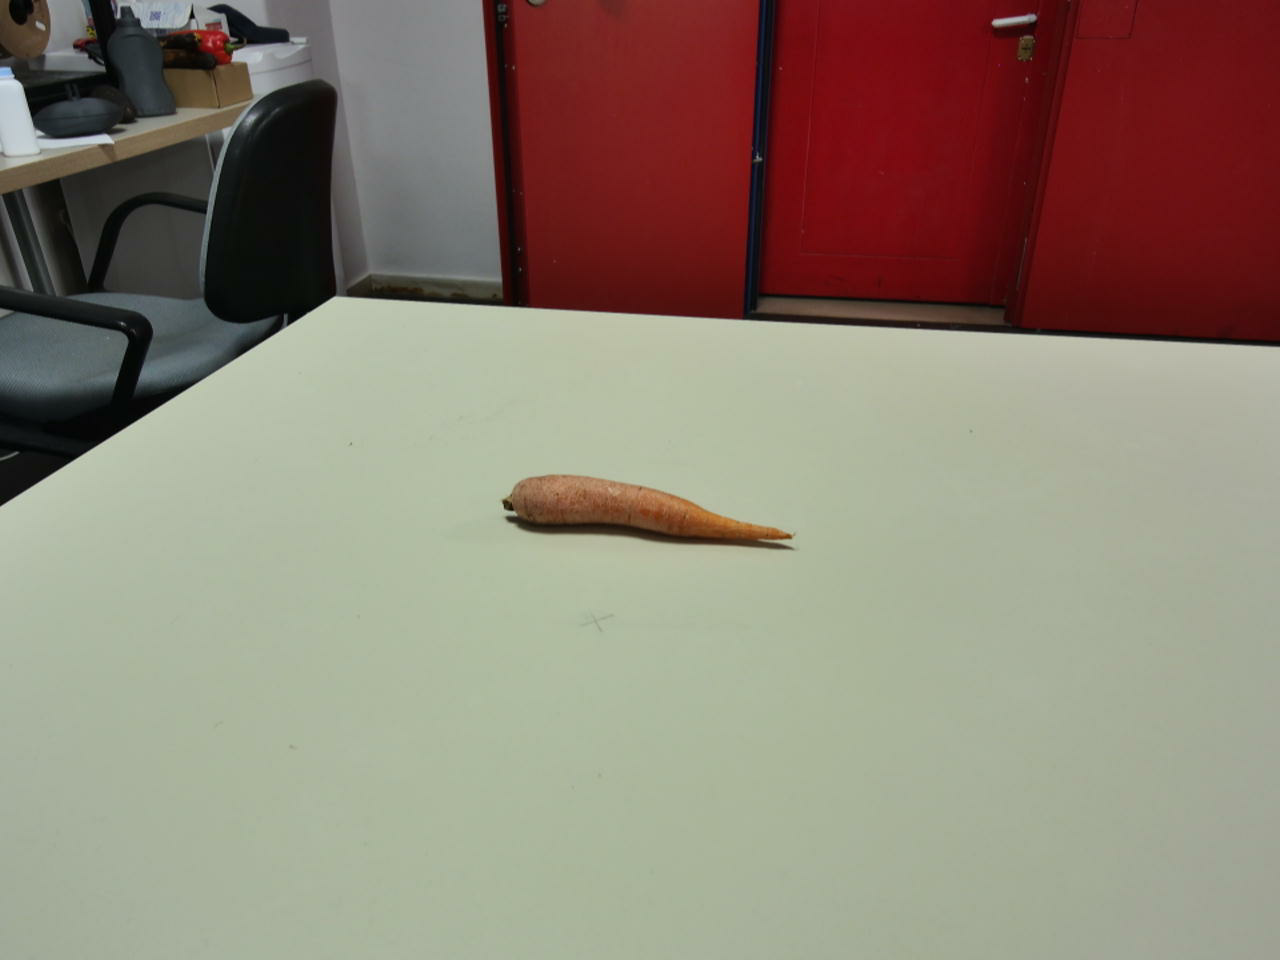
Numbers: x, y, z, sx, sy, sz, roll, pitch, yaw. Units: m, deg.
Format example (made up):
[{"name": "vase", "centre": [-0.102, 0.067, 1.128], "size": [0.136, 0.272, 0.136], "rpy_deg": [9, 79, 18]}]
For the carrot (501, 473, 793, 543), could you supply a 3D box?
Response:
[{"name": "carrot", "centre": [0.003, 0.016, 0.551], "size": [0.163, 0.029, 0.031], "rpy_deg": [5, 26, 11]}]
